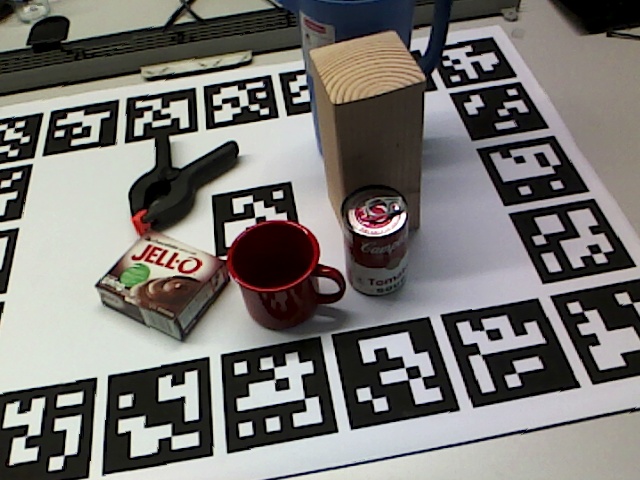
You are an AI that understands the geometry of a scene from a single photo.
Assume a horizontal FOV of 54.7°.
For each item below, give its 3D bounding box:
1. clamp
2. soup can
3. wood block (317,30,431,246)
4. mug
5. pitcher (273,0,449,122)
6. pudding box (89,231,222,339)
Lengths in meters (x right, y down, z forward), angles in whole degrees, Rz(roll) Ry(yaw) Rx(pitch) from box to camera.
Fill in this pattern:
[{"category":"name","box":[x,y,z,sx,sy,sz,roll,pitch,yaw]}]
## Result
[{"category":"clamp","box":[-0.181,-0.073,0.784,0.122,0.036,0.165,16,54,11]},{"category":"soup can","box":[0.054,0.003,0.634,0.068,0.101,0.068,-3,52,4]},{"category":"wood block","box":[0.052,-0.100,0.654,0.090,0.205,0.091,-10,49,-6]},{"category":"mug","box":[-0.033,0.042,0.627,0.118,0.081,0.093,18,52,22]},{"category":"pitcher","box":[0.056,-0.205,0.722,0.189,0.241,0.134,-13,47,0]},{"category":"pudding box","box":[-0.178,0.047,0.674,0.114,0.038,0.090,19,58,23]}]
